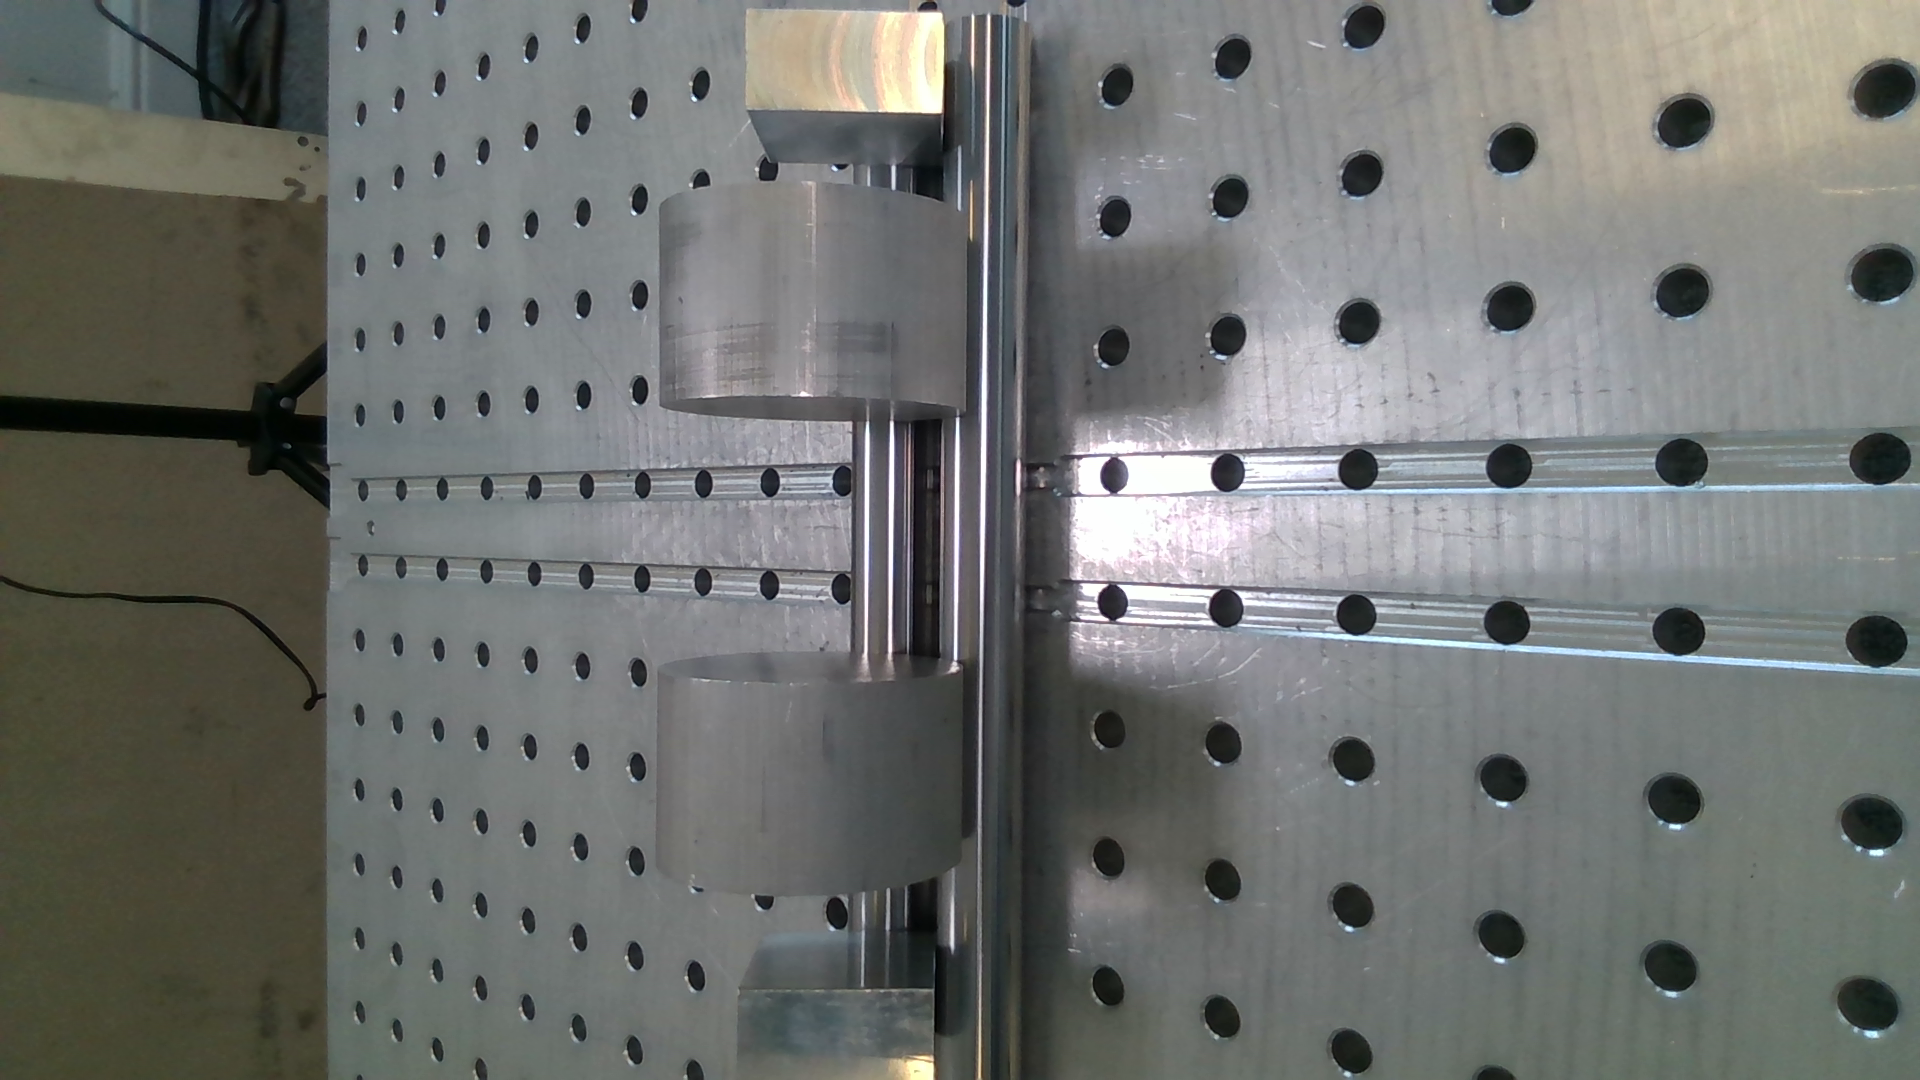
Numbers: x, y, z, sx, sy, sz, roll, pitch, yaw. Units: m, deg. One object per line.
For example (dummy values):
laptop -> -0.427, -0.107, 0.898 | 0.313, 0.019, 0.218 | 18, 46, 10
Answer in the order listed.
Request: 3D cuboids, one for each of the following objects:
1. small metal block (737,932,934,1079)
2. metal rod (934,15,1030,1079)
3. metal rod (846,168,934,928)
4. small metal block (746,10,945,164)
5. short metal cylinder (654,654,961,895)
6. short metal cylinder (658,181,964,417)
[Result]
small metal block -> -0.032, 0.126, 0.376 | 0.050, 0.050, 0.025 | 1, 90, -1
metal rod -> 0.006, 0.007, 0.389 | 0.025, 0.025, 0.300 | 1, 91, 40
metal rod -> -0.021, 0.004, 0.412 | 0.025, 0.025, 0.300 | 1, 91, 40
small metal block -> -0.030, -0.121, 0.372 | 0.050, 0.050, 0.025 | 1, 90, -2
short metal cylinder -> -0.040, 0.058, 0.364 | 0.080, 0.080, 0.050 | 1, 91, 40
short metal cylinder -> -0.039, -0.059, 0.361 | 0.080, 0.080, 0.050 | 1, 91, 40
